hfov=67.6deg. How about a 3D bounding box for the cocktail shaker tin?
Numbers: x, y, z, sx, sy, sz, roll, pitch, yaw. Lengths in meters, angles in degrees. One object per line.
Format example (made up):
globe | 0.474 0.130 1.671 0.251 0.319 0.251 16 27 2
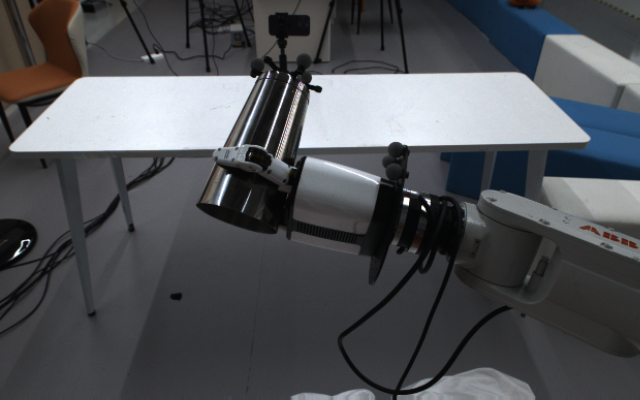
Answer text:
cocktail shaker tin | -0.067 -0.057 0.550 0.093 0.093 0.170 13 73 15
